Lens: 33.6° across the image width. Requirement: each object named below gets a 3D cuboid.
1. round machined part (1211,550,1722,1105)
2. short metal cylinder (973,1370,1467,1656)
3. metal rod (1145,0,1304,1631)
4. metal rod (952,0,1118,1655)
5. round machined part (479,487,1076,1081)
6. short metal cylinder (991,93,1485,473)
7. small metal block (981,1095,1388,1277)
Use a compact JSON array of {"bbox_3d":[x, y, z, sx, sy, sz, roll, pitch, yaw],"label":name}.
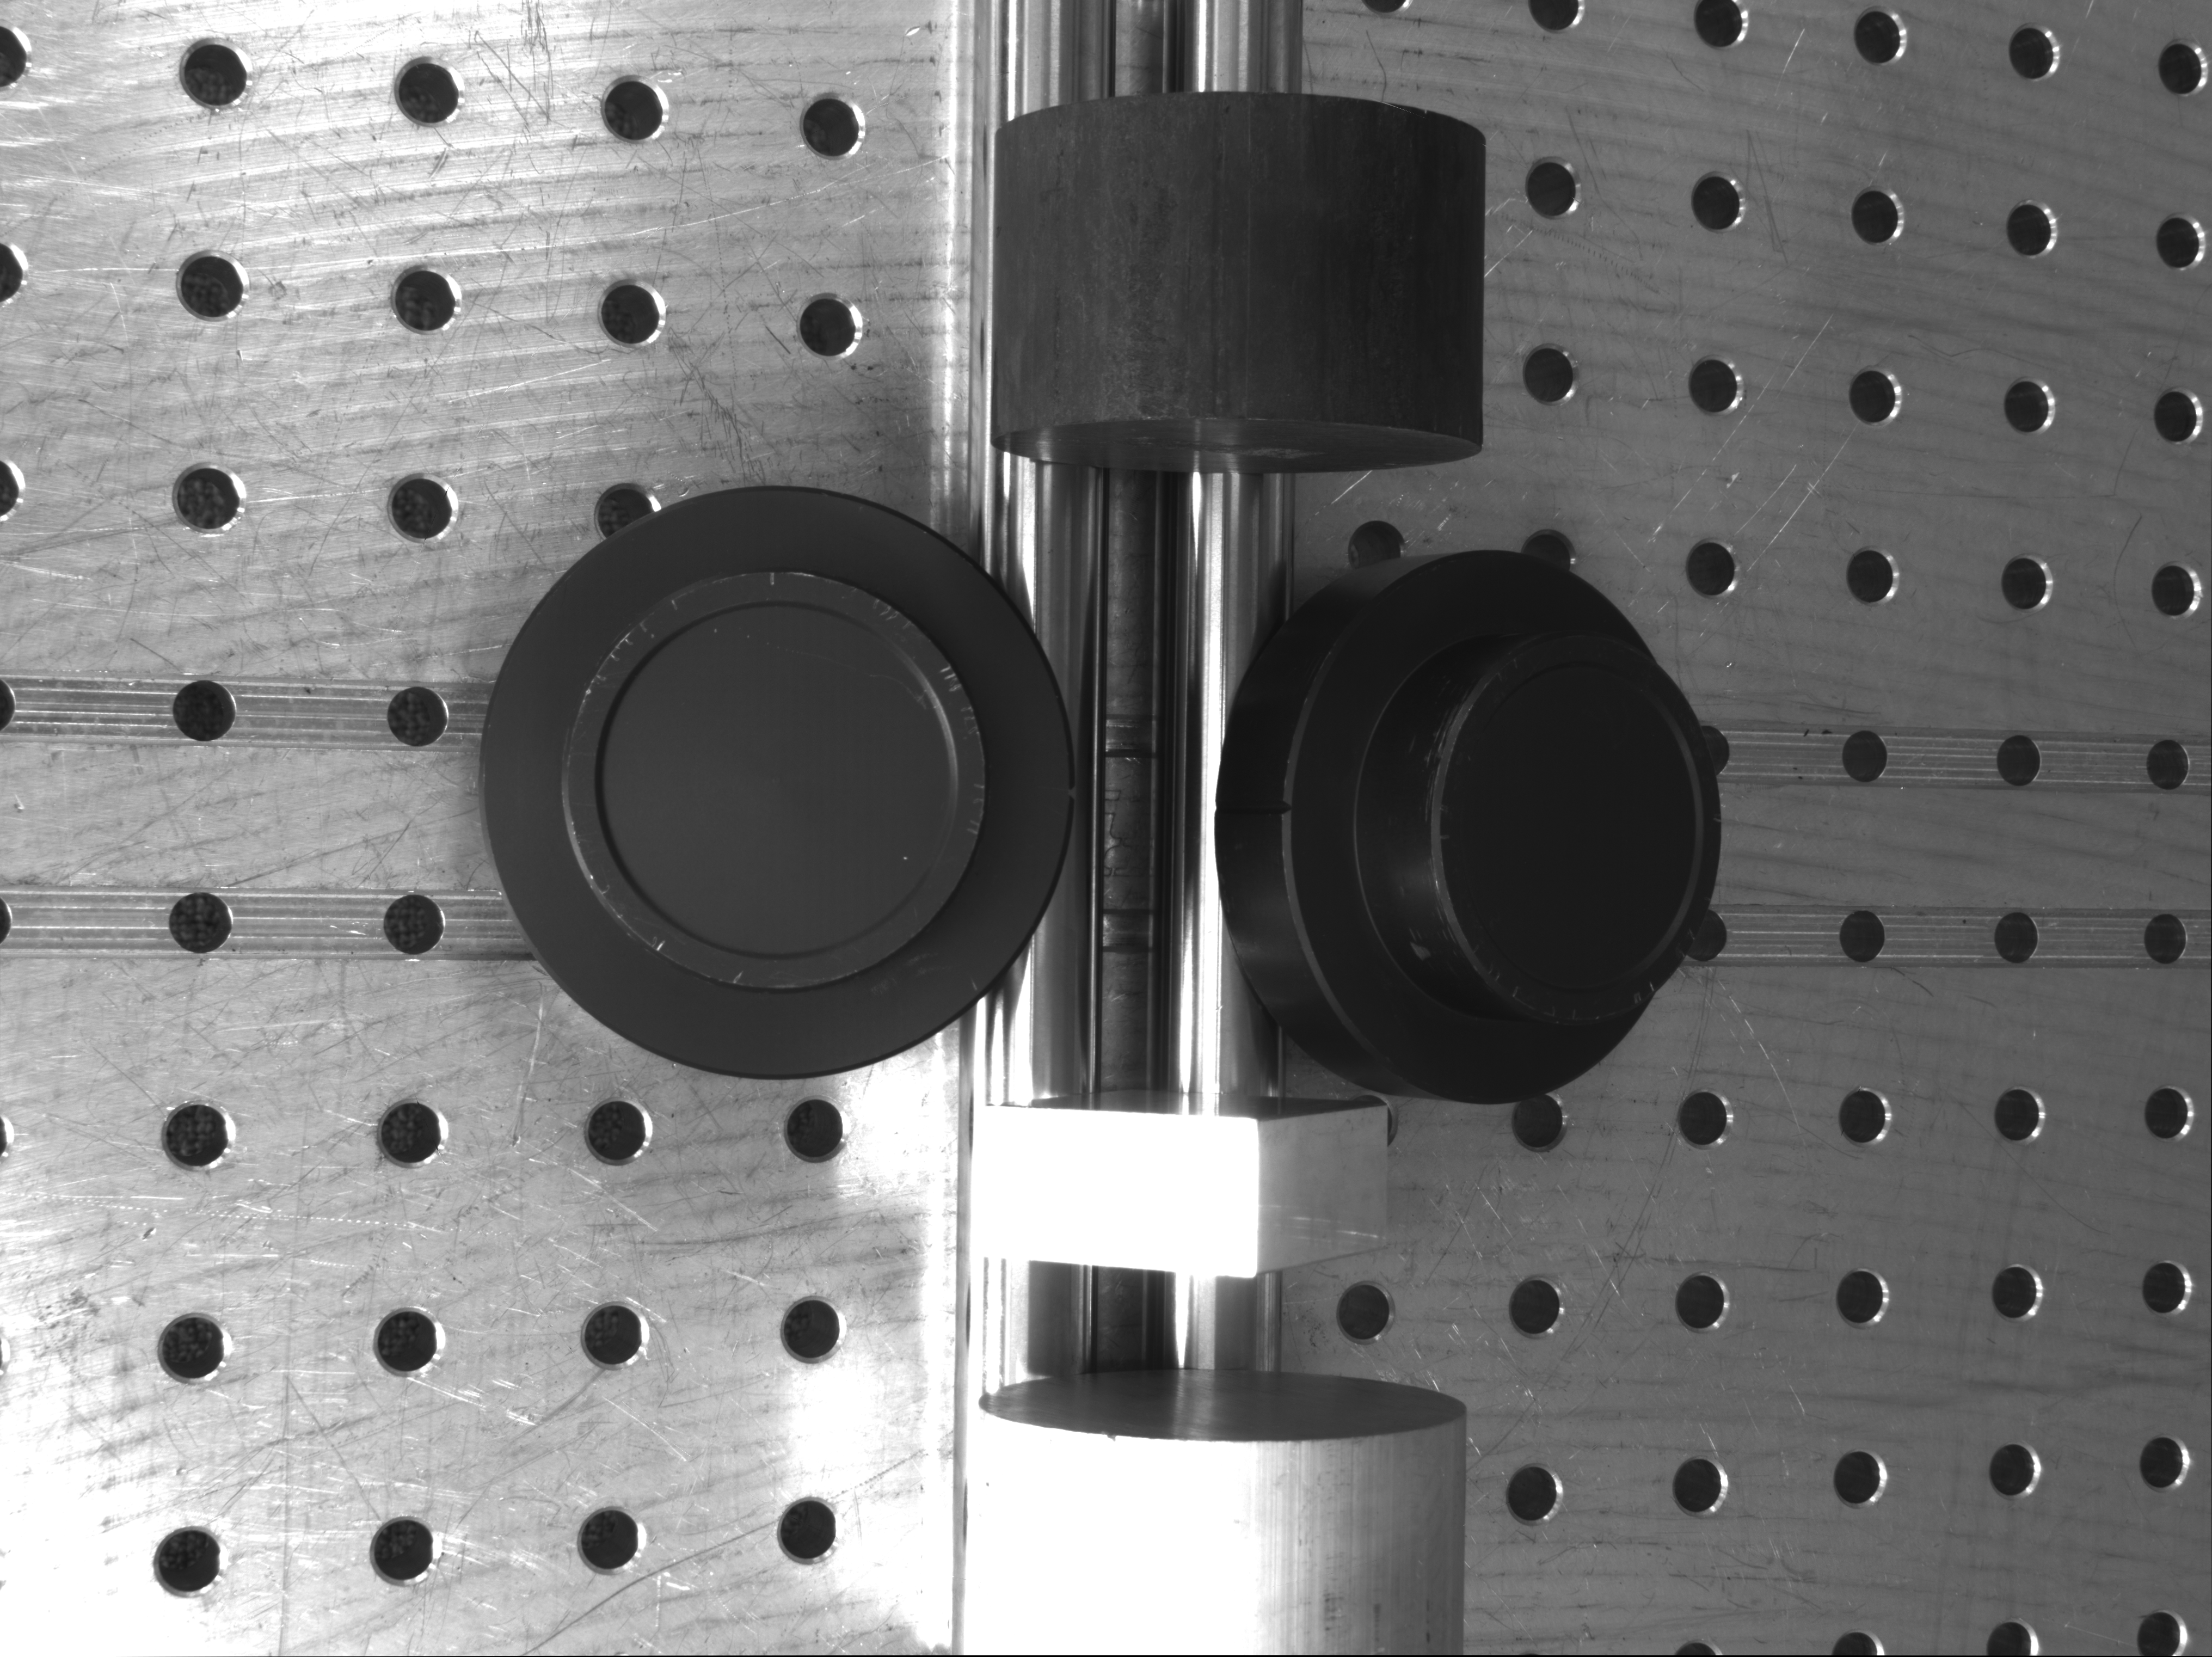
[{"bbox_3d":[0.070,0.000,0.647,0.098,0.042,0.098,0,90,-35],"label":"round machined part"},{"bbox_3d":[0.019,0.119,0.600,0.080,0.080,0.050,1,90,-20],"label":"short metal cylinder"},{"bbox_3d":[0.021,-0.006,0.652,0.025,0.025,0.300,1,90,-20],"label":"metal rod"},{"bbox_3d":[-0.012,-0.004,0.640,0.025,0.025,0.300,1,90,-20],"label":"metal rod"},{"bbox_3d":[-0.054,-0.007,0.604,0.098,0.042,0.098,0,90,-6],"label":"round machined part"},{"bbox_3d":[0.022,-0.087,0.601,0.080,0.080,0.050,1,90,-20],"label":"short metal cylinder"},{"bbox_3d":[0.014,0.059,0.612,0.050,0.050,0.025,3,88,-61],"label":"small metal block"}]
